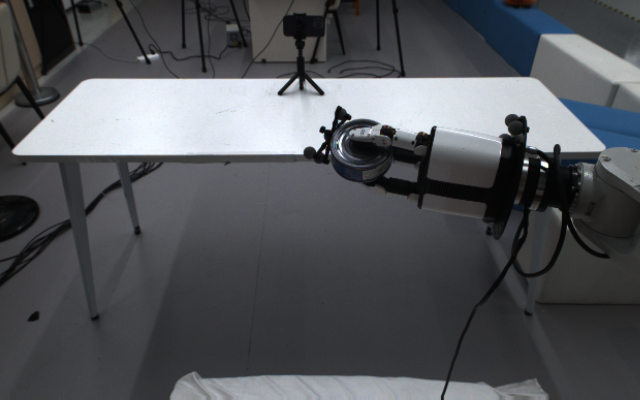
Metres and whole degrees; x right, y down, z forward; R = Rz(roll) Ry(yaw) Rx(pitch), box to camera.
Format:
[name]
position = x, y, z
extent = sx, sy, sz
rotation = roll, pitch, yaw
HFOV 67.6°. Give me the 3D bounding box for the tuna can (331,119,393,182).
[tuna can]
position = 0.058, -0.069, 0.661
extent = 0.085, 0.034, 0.085
rotation = -1, 61, 1
